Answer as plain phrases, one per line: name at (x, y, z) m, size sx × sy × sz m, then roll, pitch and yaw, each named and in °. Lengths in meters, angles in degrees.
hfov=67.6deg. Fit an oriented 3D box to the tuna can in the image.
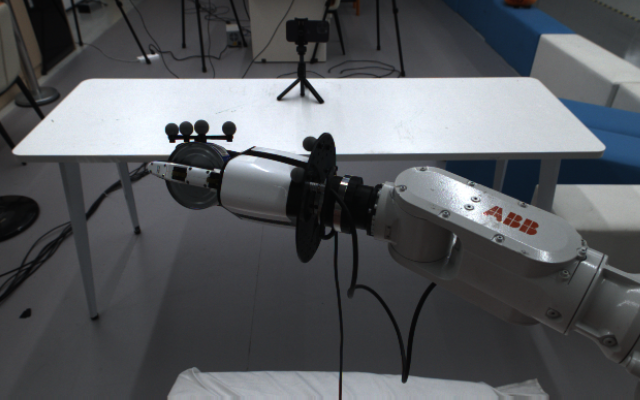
tuna can at (-0.151, -0.031, 0.619) m, size 0.085 × 0.085 × 0.034 m, roll 11°, pitch 7°, yaw 13°
